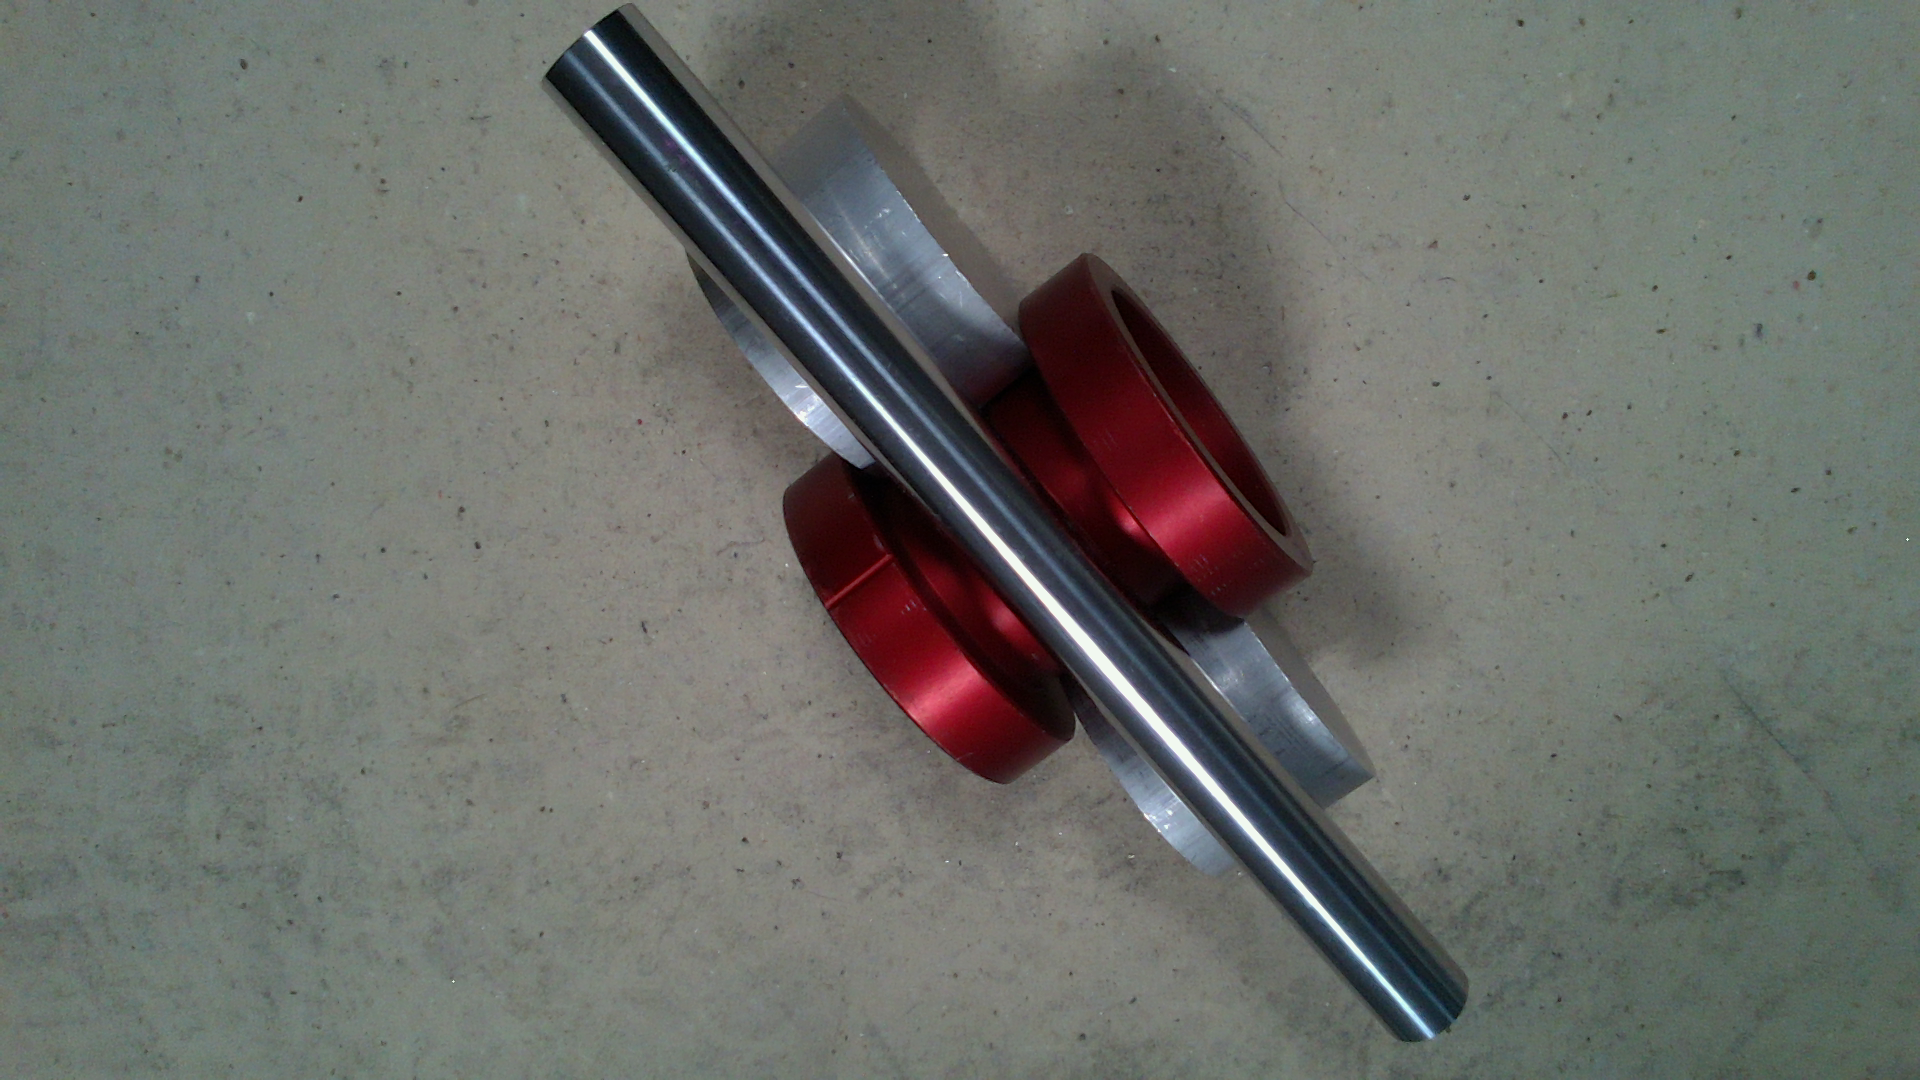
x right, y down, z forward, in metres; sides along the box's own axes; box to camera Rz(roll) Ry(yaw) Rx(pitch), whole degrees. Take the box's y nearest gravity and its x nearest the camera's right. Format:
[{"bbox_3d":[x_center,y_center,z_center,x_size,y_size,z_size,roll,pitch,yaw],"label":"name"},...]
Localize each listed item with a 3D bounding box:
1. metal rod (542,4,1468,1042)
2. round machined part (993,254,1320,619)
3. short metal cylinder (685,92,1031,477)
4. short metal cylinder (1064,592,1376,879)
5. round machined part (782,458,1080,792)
[{"bbox_3d":[0.023,0.010,0.313,0.025,0.025,0.300,-38,106,13],"label":"metal rod"},{"bbox_3d":[0.045,-0.021,0.348,0.042,0.098,0.098,-36,106,17],"label":"round machined part"},{"bbox_3d":[-0.023,-0.062,0.341,0.050,0.080,0.080,-37,106,13],"label":"short metal cylinder"},{"bbox_3d":[0.070,0.046,0.382,0.050,0.080,0.080,-37,106,13],"label":"short metal cylinder"},{"bbox_3d":[0.002,0.013,0.359,0.042,0.098,0.098,-38,106,9],"label":"round machined part"}]
